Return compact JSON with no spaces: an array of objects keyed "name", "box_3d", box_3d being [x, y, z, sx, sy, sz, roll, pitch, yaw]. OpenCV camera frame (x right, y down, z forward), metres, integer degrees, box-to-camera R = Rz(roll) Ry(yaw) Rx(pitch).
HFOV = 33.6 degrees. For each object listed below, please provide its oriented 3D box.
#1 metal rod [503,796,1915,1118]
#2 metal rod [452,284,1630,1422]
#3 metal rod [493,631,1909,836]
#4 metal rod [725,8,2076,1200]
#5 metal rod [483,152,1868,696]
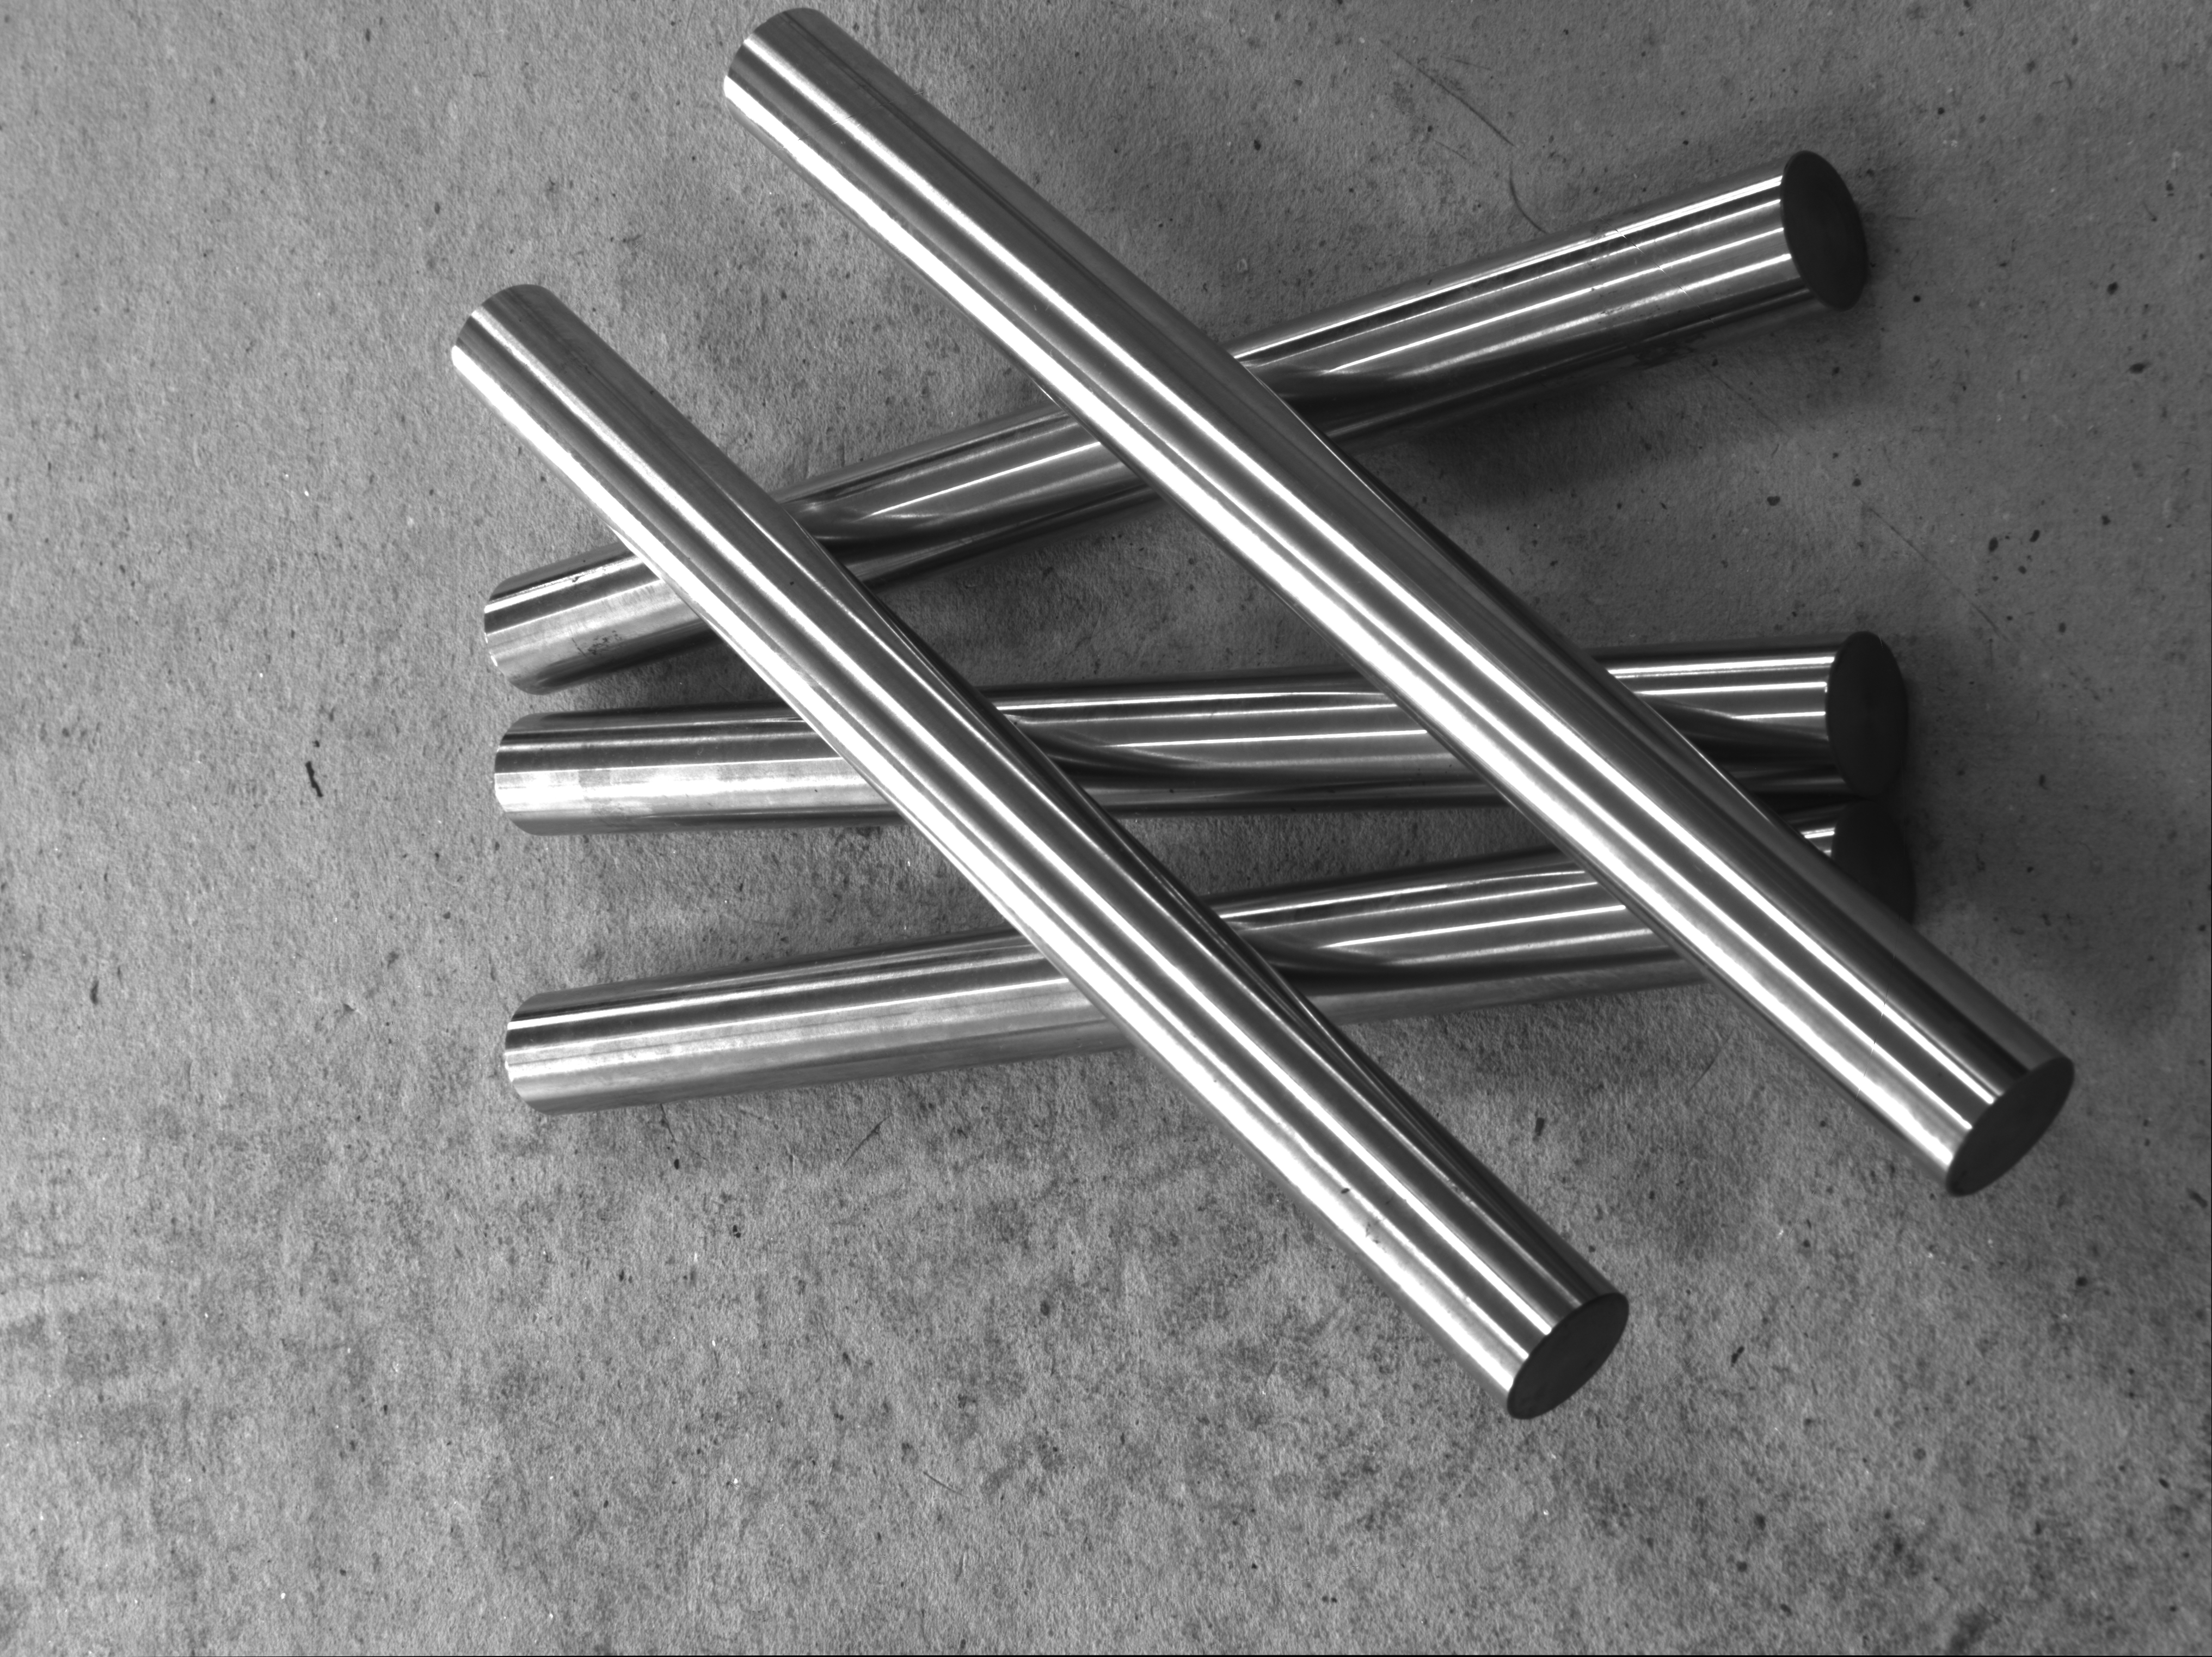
[{"name":"metal rod","box_3d":[0.002,0.027,0.644,0.299,0.025,0.025,-10,84,40]},{"name":"metal rod","box_3d":[-0.023,-0.007,0.632,0.299,0.025,0.025,43,116,32]},{"name":"metal rod","box_3d":[0.000,-0.014,0.645,0.299,0.025,0.025,-2,89,40]},{"name":"metal rod","box_3d":[0.033,-0.047,0.584,0.299,0.025,0.025,44,117,31]},{"name":"metal rod","box_3d":[-0.004,-0.064,0.649,0.299,0.025,0.025,-13,82,39]}]
